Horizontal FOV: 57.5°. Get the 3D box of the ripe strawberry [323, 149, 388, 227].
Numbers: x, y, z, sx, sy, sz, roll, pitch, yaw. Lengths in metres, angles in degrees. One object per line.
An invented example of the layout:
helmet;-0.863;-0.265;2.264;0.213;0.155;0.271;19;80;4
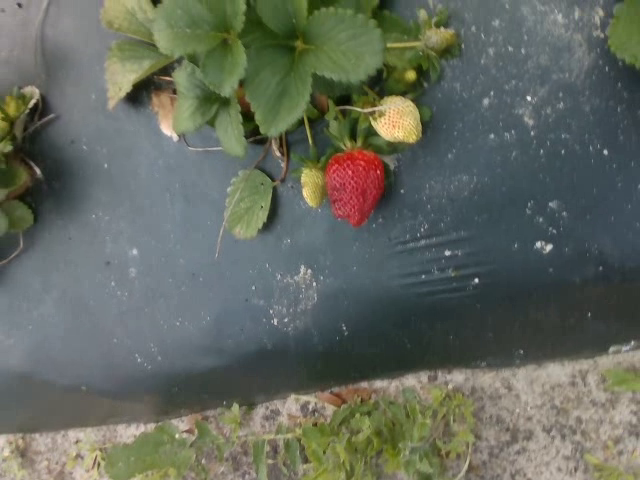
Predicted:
ripe strawberry;0.023;-0.033;0.388;0.046;0.059;0.045;-11;-28;29
